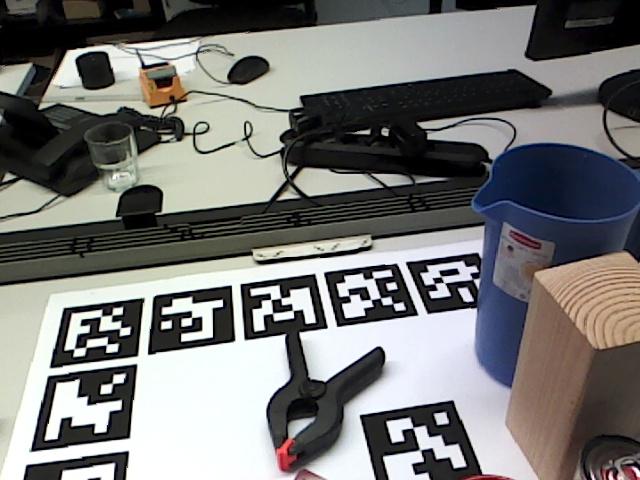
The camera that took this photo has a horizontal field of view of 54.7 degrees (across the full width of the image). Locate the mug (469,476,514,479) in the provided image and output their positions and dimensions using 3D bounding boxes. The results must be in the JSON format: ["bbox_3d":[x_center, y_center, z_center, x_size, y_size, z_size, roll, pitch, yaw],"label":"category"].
[{"bbox_3d":[0.150,0.253,0.481,0.118,0.081,0.093,14,39,24],"label":"mug"}]

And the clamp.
[{"bbox_3d":[0.001,0.168,0.655,0.122,0.036,0.165,15,42,13],"label":"clamp"}]

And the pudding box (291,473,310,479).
[{"bbox_3d":[0.004,0.264,0.523,0.114,0.038,0.090,15,45,25],"label":"pudding box"}]

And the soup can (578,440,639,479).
[{"bbox_3d":[0.238,0.219,0.497,0.068,0.101,0.068,-3,40,2],"label":"soup can"}]

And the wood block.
[{"bbox_3d":[0.238,0.121,0.537,0.090,0.205,0.091,-7,37,-9],"label":"wood block"}]

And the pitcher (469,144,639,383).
[{"bbox_3d":[0.242,0.033,0.626,0.188,0.241,0.134,-11,36,-3],"label":"pitcher"}]
